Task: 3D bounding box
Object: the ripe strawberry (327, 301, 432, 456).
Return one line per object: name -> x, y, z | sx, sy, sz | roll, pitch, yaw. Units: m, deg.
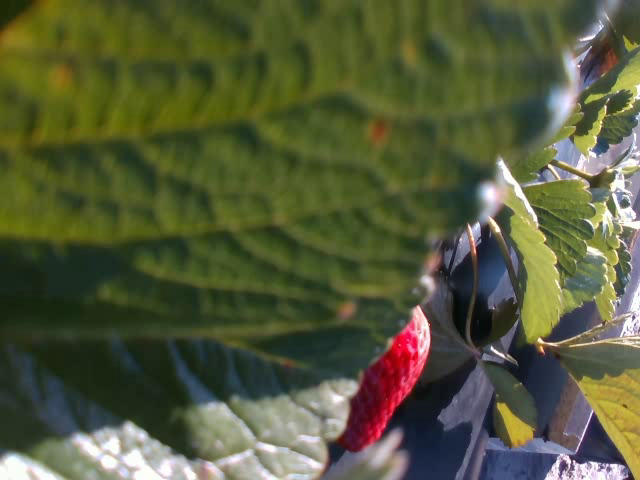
ripe strawberry -> 0.009, 0.031, 0.160 | 0.044, 0.056, 0.042 | 7, -12, 0
